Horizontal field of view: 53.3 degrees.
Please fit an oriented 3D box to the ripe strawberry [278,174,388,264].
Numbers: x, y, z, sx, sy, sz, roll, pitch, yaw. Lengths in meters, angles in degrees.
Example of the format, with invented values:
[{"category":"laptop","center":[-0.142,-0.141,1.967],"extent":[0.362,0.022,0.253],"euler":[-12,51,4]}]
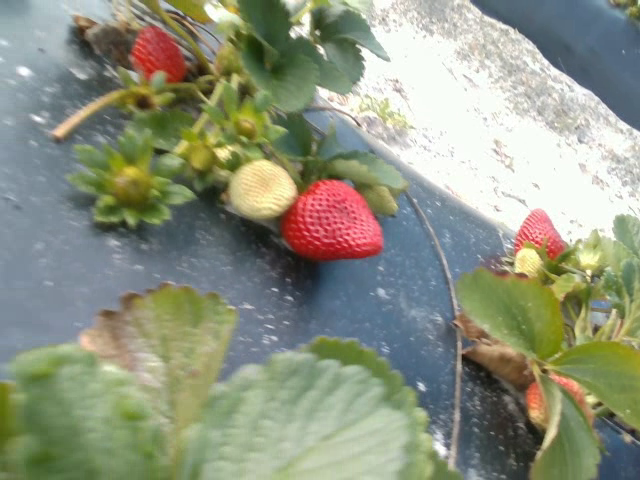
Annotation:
[{"category":"ripe strawberry","center":[0.010,-0.006,0.312],"extent":[0.051,0.048,0.055],"euler":[-32,36,-18]}]
